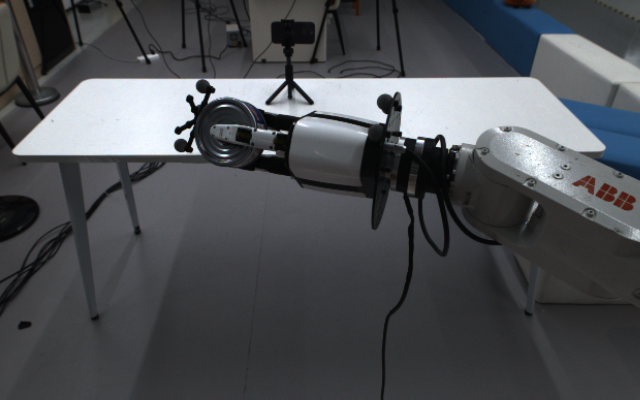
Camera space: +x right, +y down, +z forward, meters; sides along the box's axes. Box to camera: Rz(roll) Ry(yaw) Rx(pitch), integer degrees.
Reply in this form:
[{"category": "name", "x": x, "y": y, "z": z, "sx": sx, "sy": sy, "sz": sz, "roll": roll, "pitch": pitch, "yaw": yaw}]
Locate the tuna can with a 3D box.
[{"category": "tuna can", "x": -0.109, "y": -0.084, "z": 0.600, "sx": 0.085, "sy": 0.085, "sz": 0.034, "roll": 12, "pitch": 5, "yaw": 13}]
